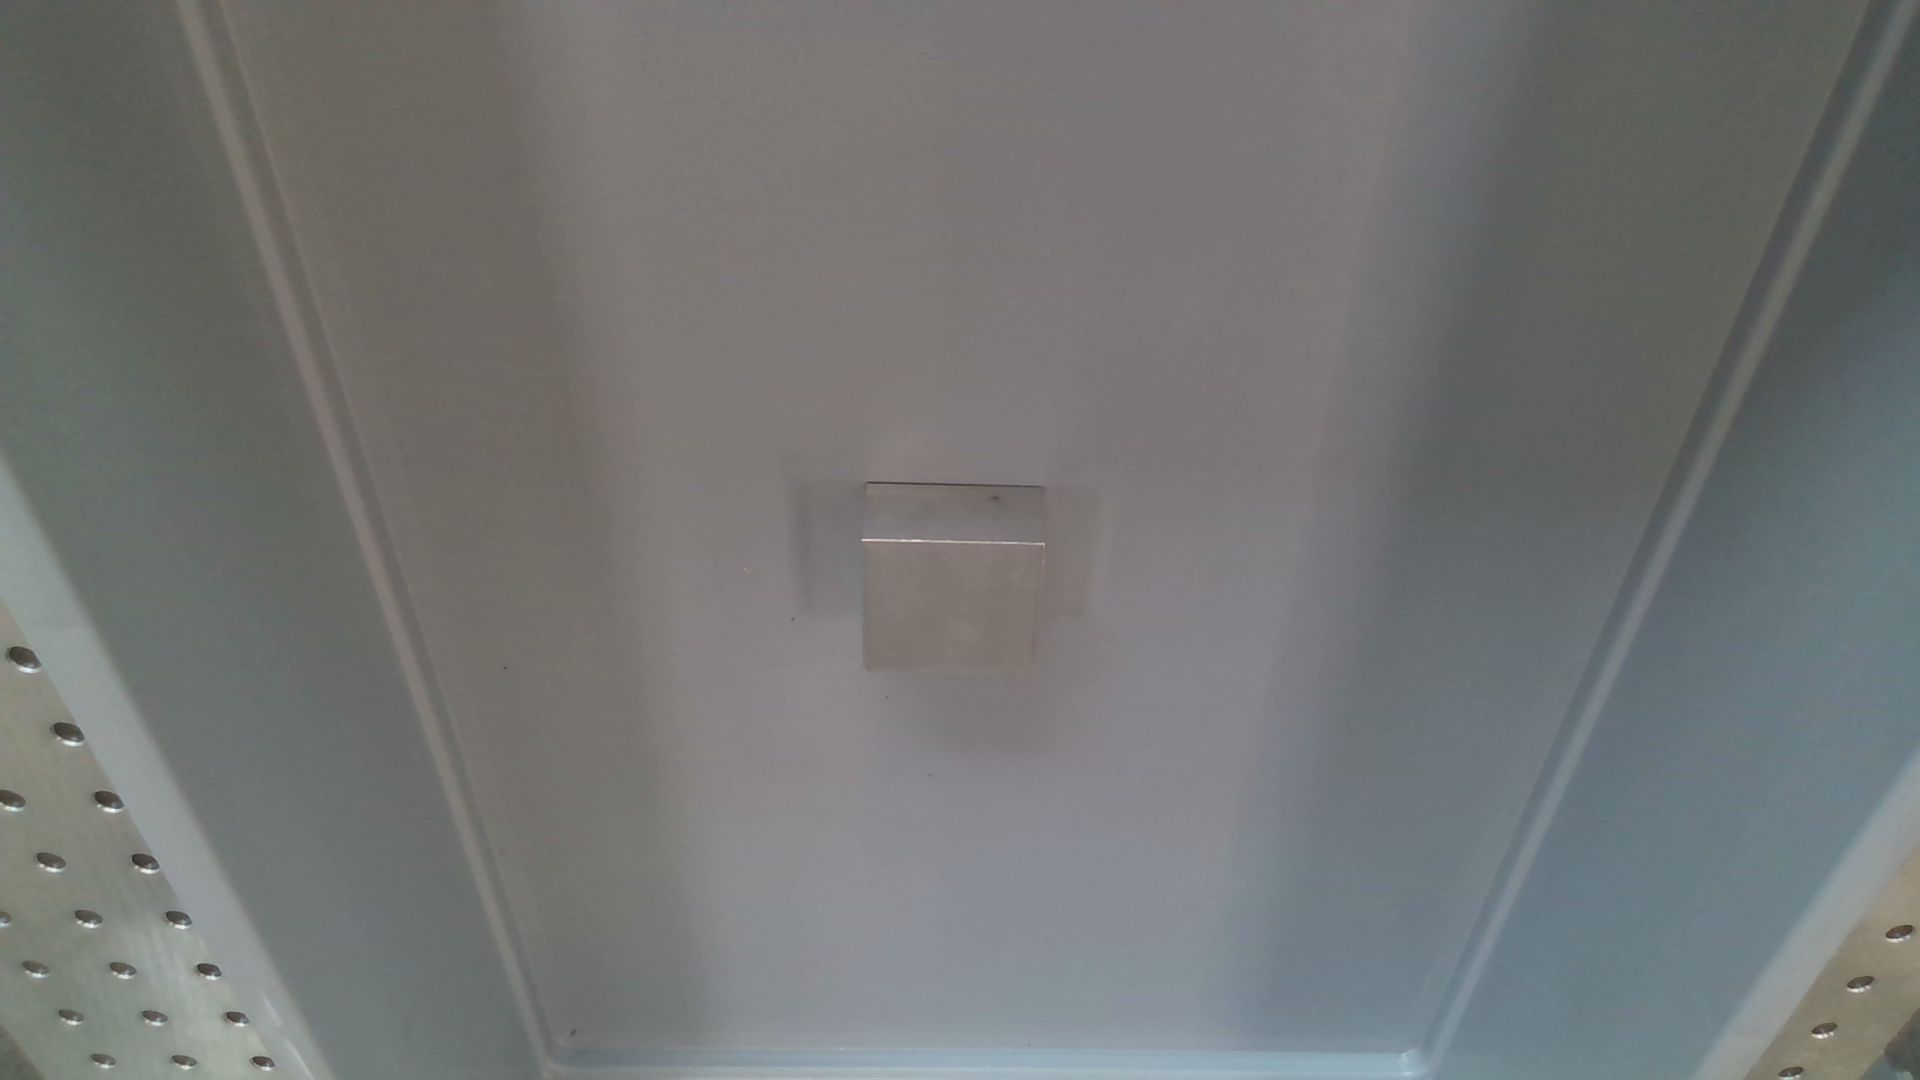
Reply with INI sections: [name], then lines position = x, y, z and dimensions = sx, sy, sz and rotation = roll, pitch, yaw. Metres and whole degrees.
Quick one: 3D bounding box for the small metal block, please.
[small metal block]
position = -0.003, 0.011, 0.393
dimensions = 0.050, 0.025, 0.050
rotation = 1, 130, -1
